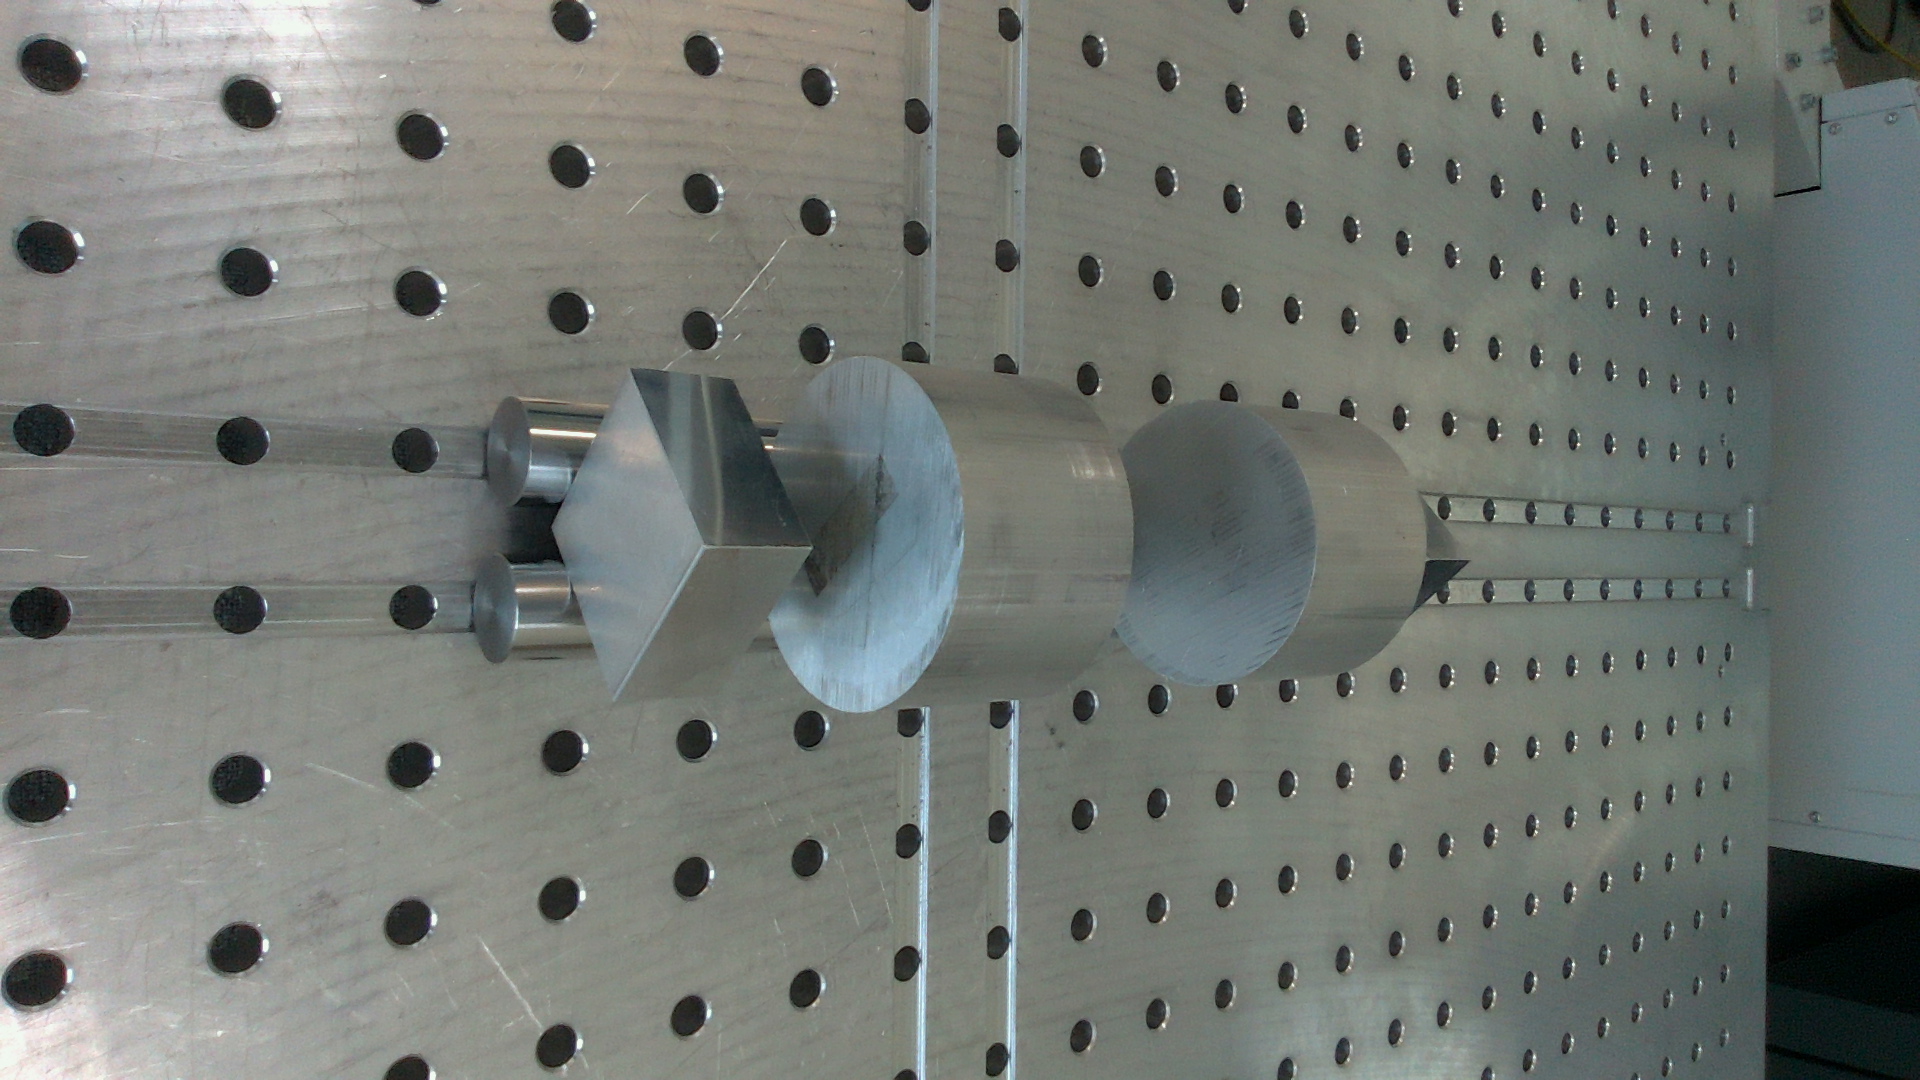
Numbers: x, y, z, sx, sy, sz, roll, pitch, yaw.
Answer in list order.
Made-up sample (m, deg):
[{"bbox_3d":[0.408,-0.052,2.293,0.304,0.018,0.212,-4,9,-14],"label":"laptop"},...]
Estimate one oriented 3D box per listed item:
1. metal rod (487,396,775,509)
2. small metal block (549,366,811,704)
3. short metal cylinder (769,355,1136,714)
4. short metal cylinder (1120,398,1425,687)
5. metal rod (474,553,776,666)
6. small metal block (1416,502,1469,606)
[{"bbox_3d":[0.015,-0.017,0.404,0.301,0.025,0.025,1,89,-40],"label":"metal rod"},{"bbox_3d":[-0.062,-0.001,0.295,0.025,0.050,0.050,1,47,-39],"label":"small metal block"},{"bbox_3d":[-0.005,-0.001,0.323,0.050,0.080,0.080,1,89,-40],"label":"short metal cylinder"},{"bbox_3d":[0.085,0.001,0.399,0.050,0.080,0.080,1,89,-40],"label":"short metal cylinder"},{"bbox_3d":[0.012,0.018,0.402,0.301,0.025,0.025,1,89,-40],"label":"metal rod"},{"bbox_3d":[0.129,0.003,0.453,0.025,0.050,0.050,1,48,-39],"label":"small metal block"}]
